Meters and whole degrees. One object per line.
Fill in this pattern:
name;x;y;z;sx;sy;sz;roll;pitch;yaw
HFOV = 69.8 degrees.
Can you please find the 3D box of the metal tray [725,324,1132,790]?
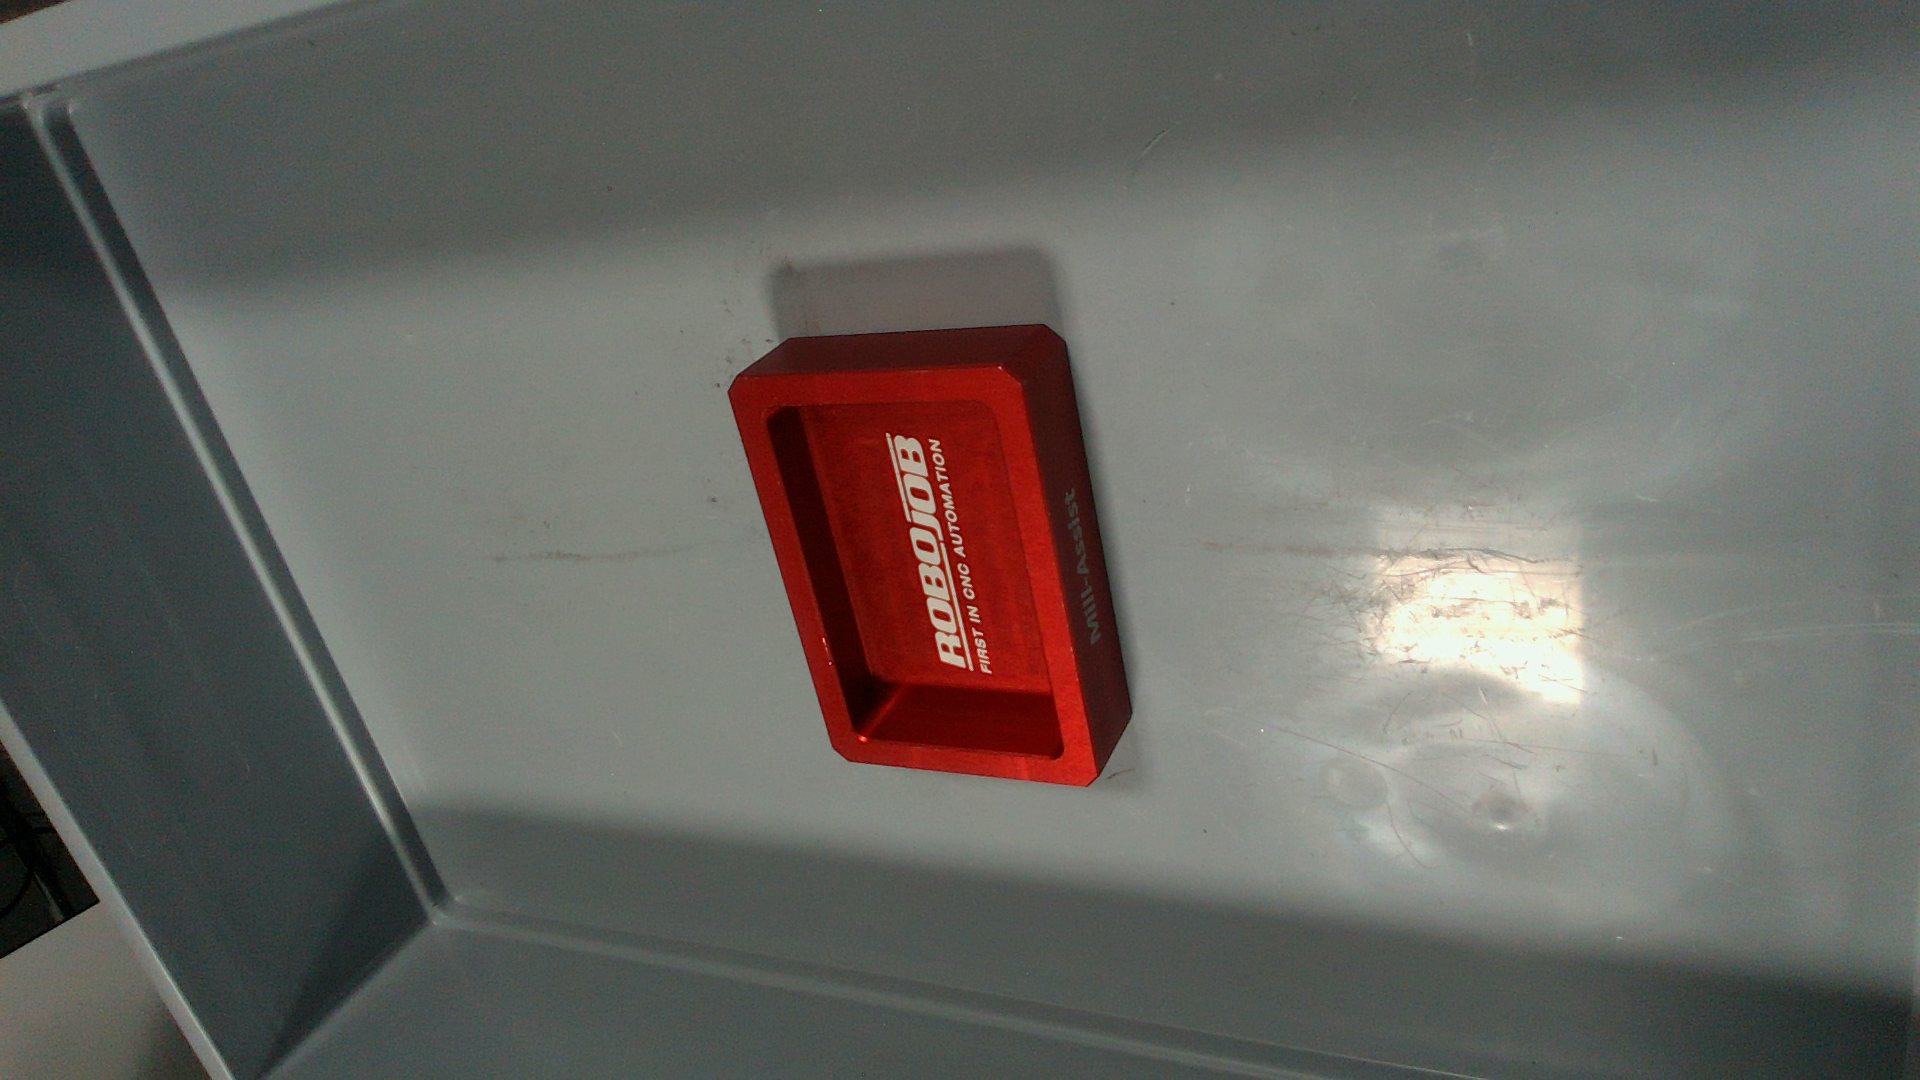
metal tray;-0.007;0.007;0.394;0.090;0.030;0.130;1;119;27
